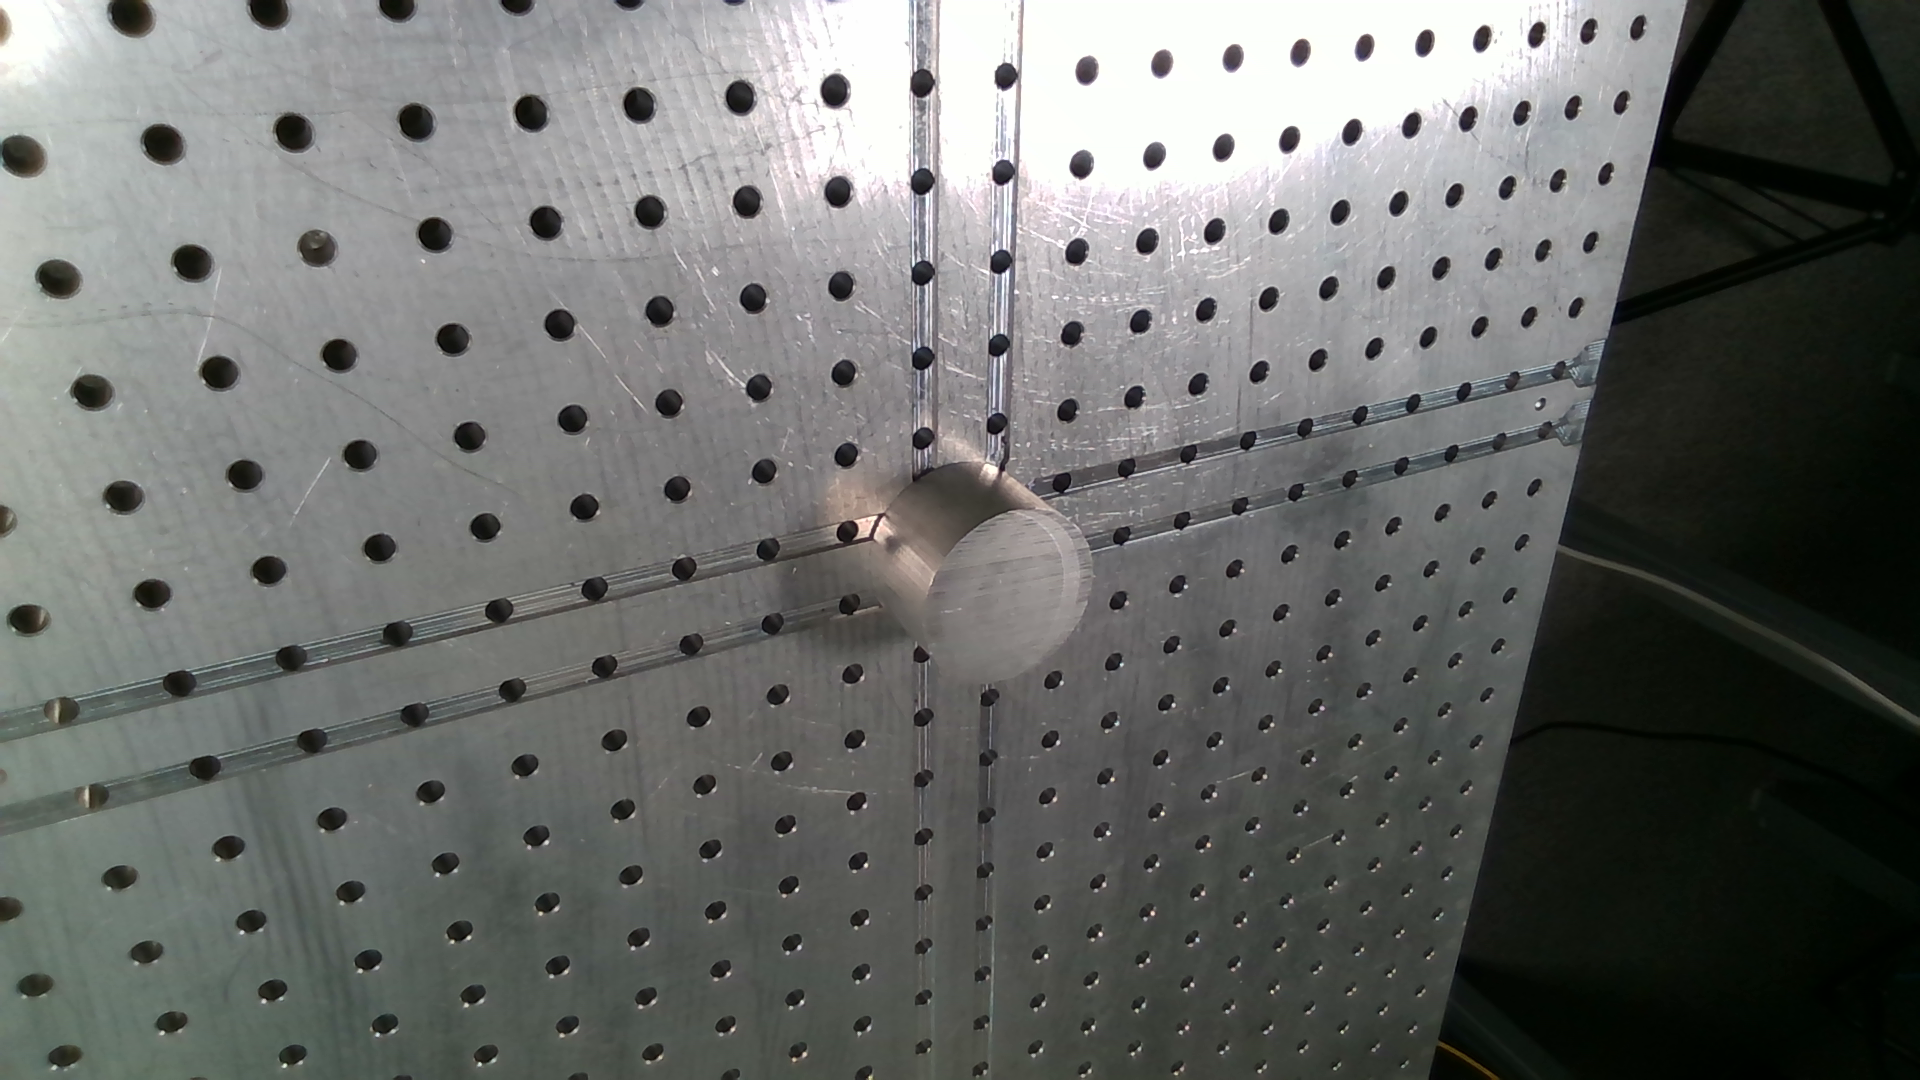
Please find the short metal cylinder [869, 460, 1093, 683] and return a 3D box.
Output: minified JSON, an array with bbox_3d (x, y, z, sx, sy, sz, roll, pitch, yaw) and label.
[{"bbox_3d":[0.009,0.013,0.579,0.080,0.050,0.080,-14,122,-25],"label":"short metal cylinder"}]
